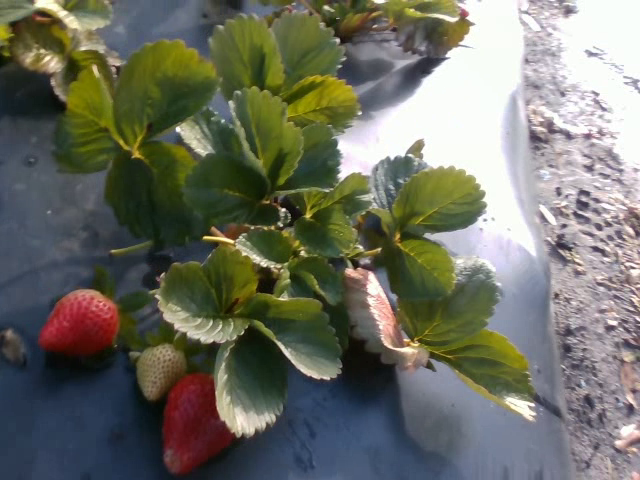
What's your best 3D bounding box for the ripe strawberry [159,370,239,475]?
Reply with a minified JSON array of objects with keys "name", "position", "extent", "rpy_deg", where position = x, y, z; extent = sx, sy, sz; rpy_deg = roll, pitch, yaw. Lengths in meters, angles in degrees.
[{"name":"ripe strawberry","position":[-0.075,0.106,0.352],"extent":[0.048,0.065,0.050],"rpy_deg":[2,-41,34]}]
